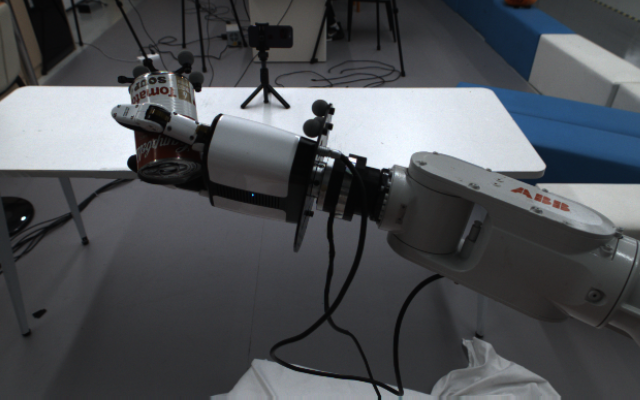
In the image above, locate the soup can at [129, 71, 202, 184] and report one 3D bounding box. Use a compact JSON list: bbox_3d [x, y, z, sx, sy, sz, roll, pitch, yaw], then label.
[{"bbox_3d":[-0.162,-0.074,0.514,0.067,0.067,0.101,-8,74,-14],"label":"soup can"}]
